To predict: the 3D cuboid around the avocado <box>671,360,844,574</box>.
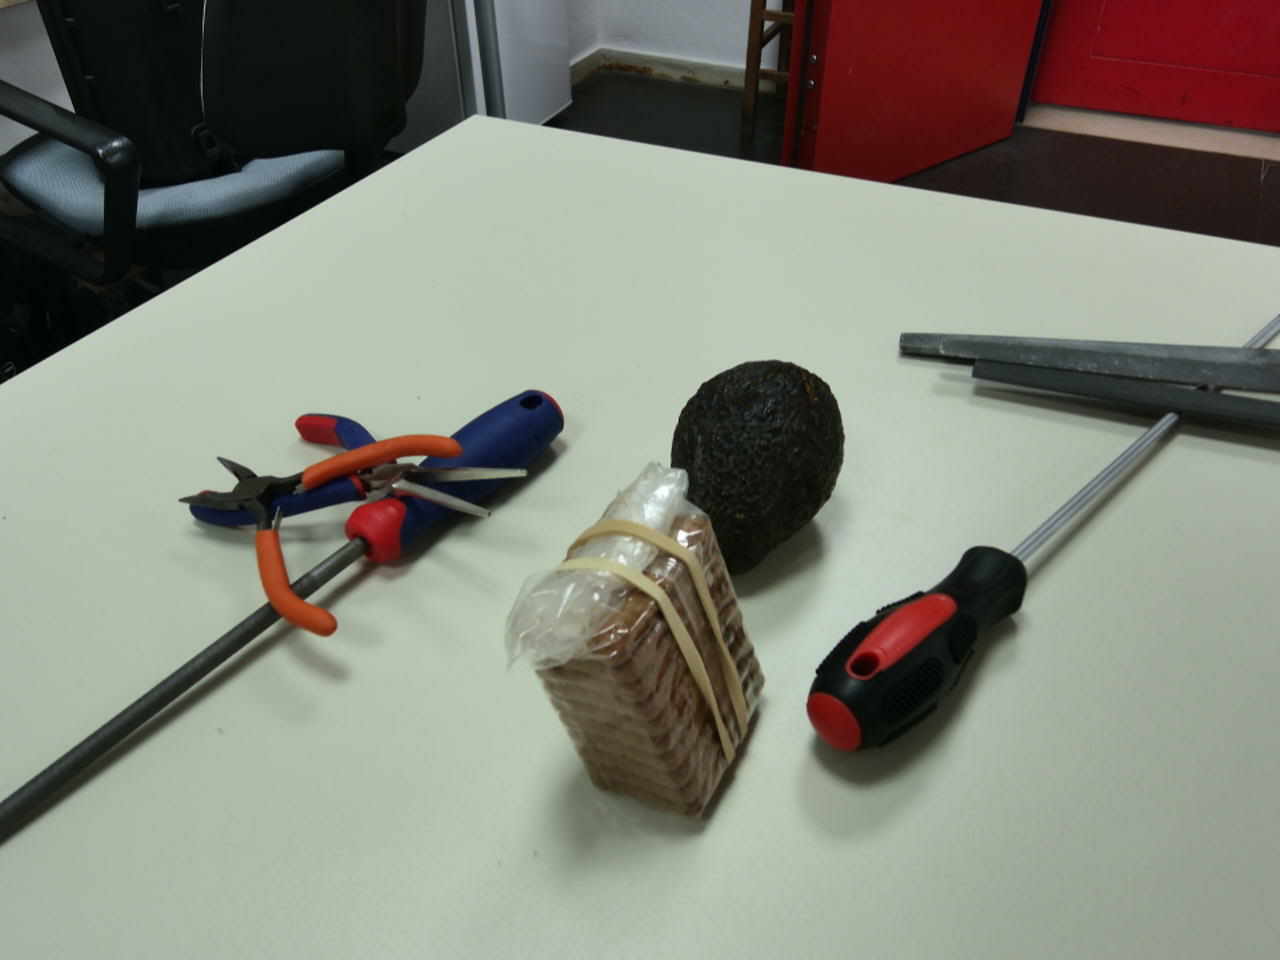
[{"bbox_3d":[0.044,-0.010,0.410,0.090,0.069,0.070,-26,44,-29],"label":"avocado"}]
